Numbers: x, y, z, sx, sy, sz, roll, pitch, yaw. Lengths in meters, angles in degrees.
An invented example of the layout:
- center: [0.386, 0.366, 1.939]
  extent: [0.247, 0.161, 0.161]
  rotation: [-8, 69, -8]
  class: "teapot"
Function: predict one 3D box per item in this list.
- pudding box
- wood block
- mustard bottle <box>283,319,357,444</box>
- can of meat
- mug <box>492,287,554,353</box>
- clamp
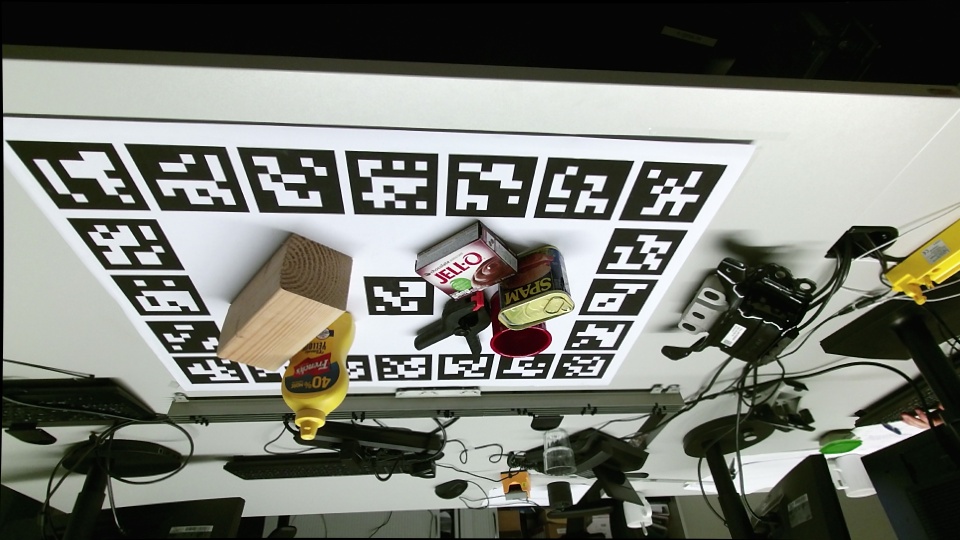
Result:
- center: [-0.020, -0.006, 0.731]
  extent: [0.114, 0.038, 0.090]
  rotation: [-26, 135, 26]
  class: "pudding box"
- center: [-0.275, 0.054, 0.744]
  extent: [0.090, 0.090, 0.206]
  rotation: [26, 133, -34]
  class: "wood block"
- center: [-0.238, 0.163, 0.791]
  extent: [0.096, 0.190, 0.058]
  rotation: [-4, 139, -2]
  class: "mustard bottle"
- center: [0.078, 0.030, 0.740]
  extent: [0.102, 0.083, 0.058]
  rotation: [-20, 136, 18]
  class: "can of meat"
- center: [0.056, 0.078, 0.839]
  extent: [0.094, 0.081, 0.117]
  rotation: [16, 134, -22]
  class: "mug"
- center: [-0.029, 0.100, 0.864]
  extent: [0.122, 0.036, 0.165]
  rotation: [14, 135, -19]
  class: "clamp"
